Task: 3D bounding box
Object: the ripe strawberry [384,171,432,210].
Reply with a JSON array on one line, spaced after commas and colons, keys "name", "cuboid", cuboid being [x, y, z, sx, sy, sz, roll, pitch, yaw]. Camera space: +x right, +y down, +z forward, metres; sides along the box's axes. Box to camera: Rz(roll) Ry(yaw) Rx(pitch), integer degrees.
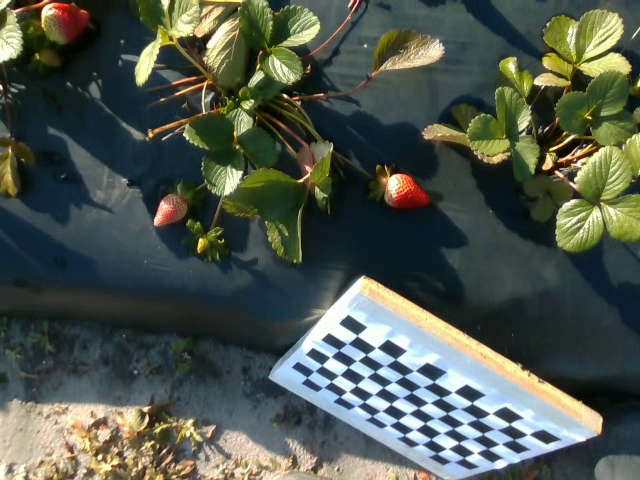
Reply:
[{"name": "ripe strawberry", "cuboid": [0.095, -0.050, 0.640, 0.063, 0.044, 0.045, 17, -39, 6]}]
